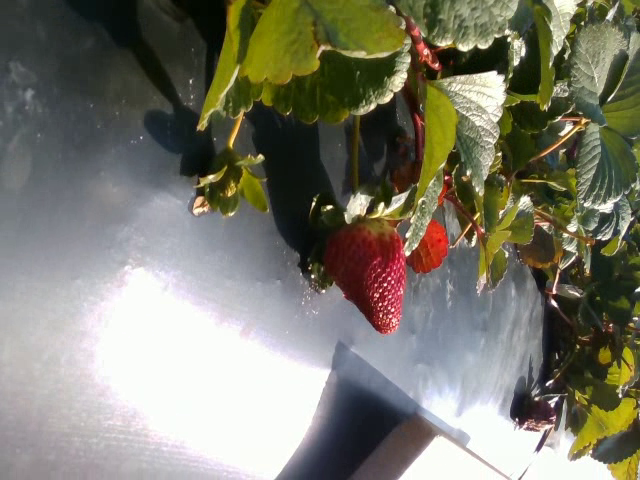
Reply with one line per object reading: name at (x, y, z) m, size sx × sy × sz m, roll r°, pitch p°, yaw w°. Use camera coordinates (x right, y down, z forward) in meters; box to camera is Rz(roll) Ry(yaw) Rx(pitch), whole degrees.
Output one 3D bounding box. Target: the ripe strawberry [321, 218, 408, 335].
ripe strawberry at (0.022, 0.017, 0.242) m, size 0.040 × 0.056 × 0.040 m, roll -17°, pitch -2°, yaw -29°
